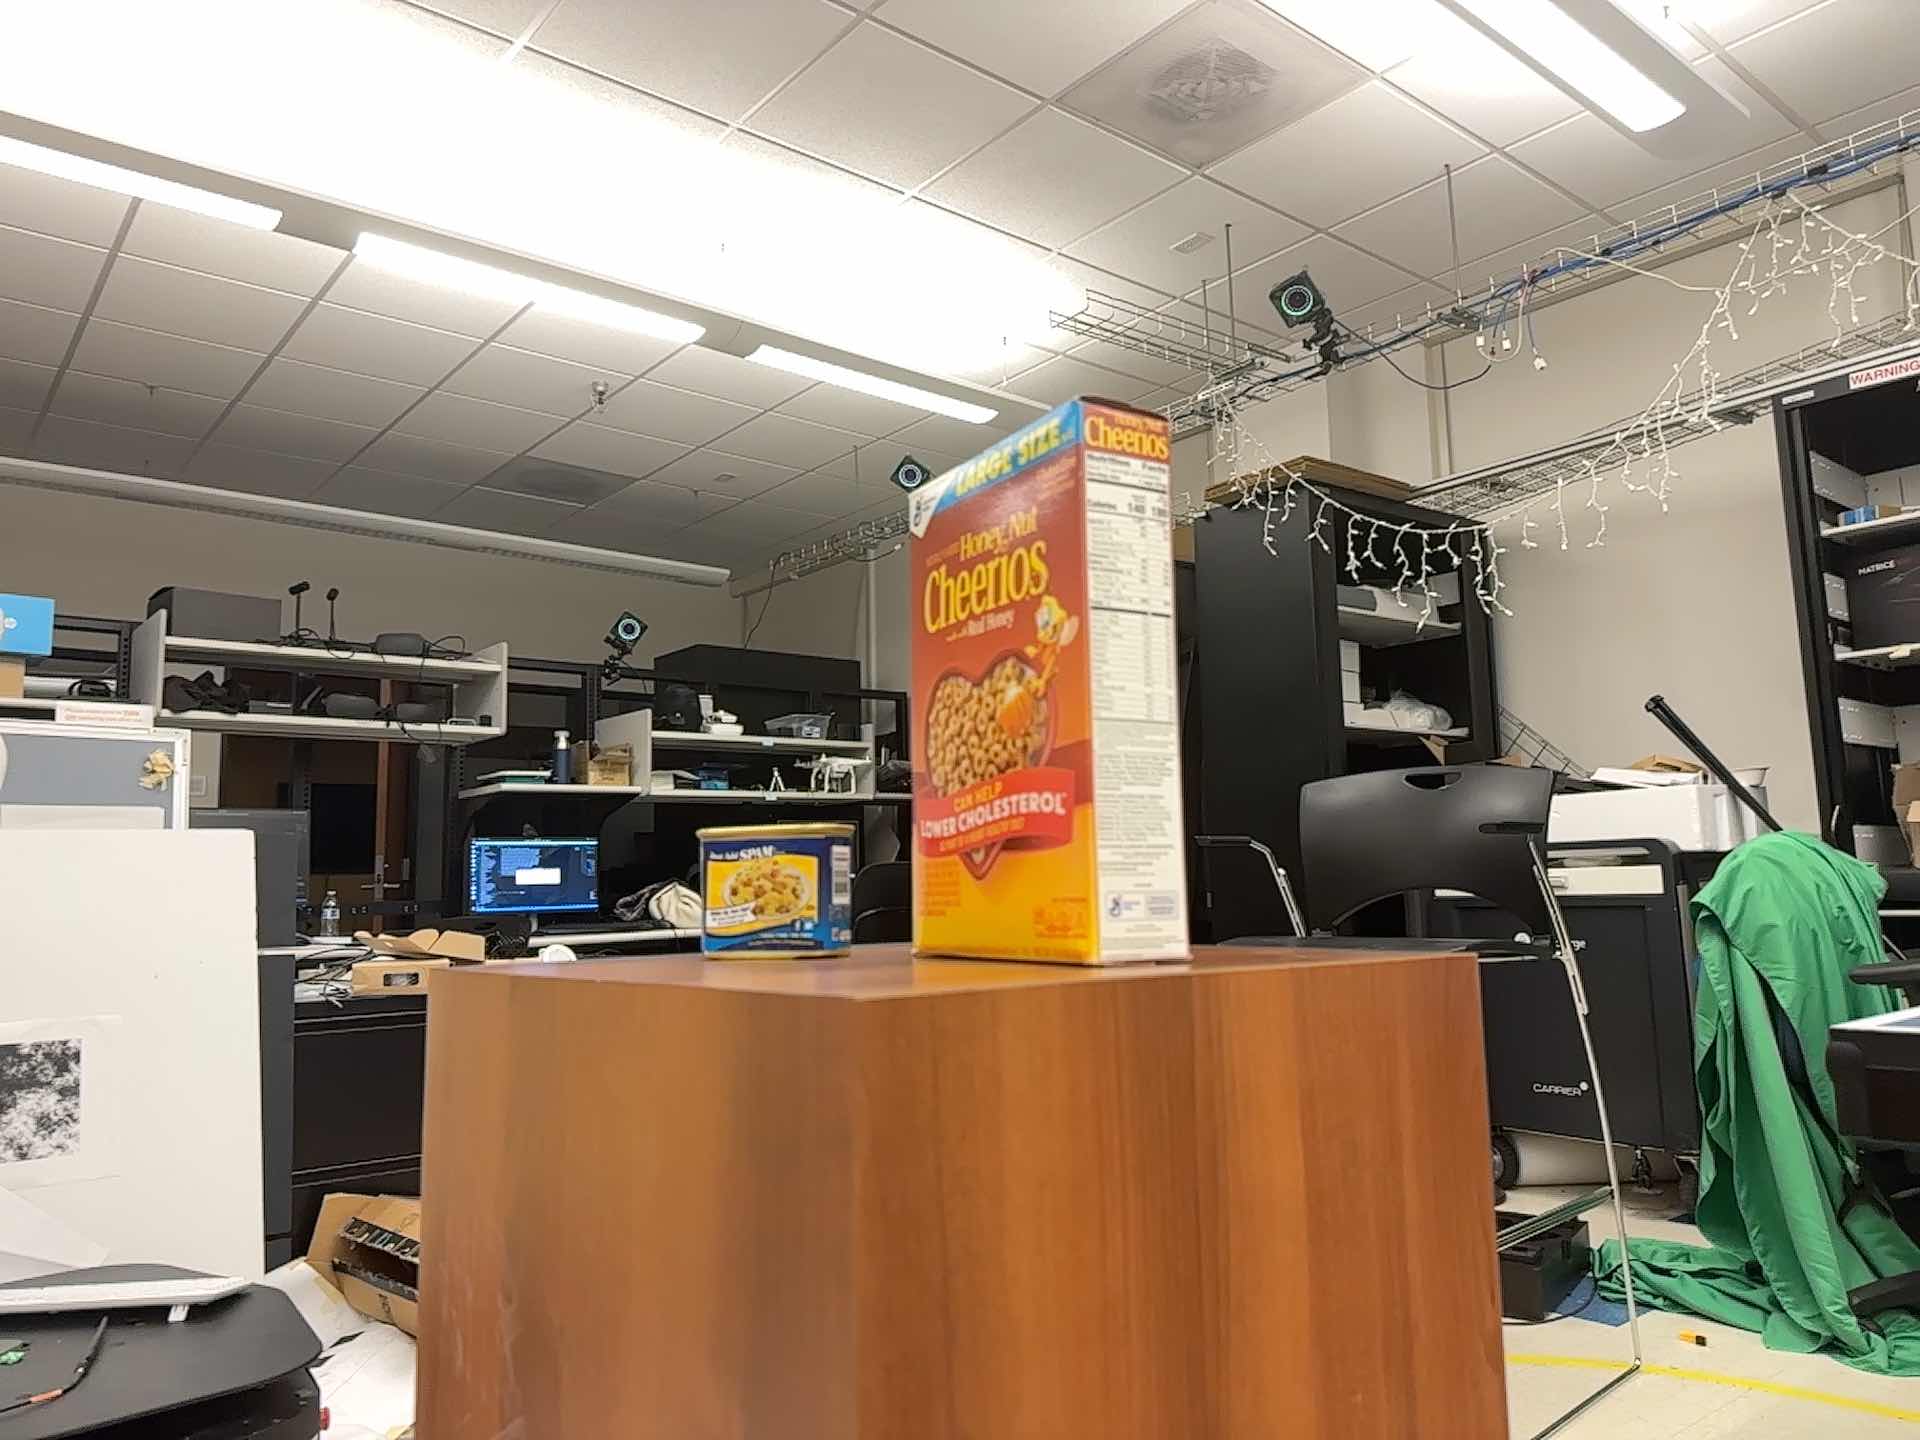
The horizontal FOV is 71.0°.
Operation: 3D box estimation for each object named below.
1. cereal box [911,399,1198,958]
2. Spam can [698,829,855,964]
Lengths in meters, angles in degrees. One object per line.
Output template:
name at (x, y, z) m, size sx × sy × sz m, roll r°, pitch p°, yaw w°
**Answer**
cereal box at (0.047, -0.012, 0.812) m, size 0.065 × 0.297 × 0.195 m, roll 5°, pitch -11°, yaw -31°
Spam can at (-0.122, 0.117, 0.891) m, size 0.100 × 0.083 × 0.056 m, roll -3°, pitch -10°, yaw 12°
